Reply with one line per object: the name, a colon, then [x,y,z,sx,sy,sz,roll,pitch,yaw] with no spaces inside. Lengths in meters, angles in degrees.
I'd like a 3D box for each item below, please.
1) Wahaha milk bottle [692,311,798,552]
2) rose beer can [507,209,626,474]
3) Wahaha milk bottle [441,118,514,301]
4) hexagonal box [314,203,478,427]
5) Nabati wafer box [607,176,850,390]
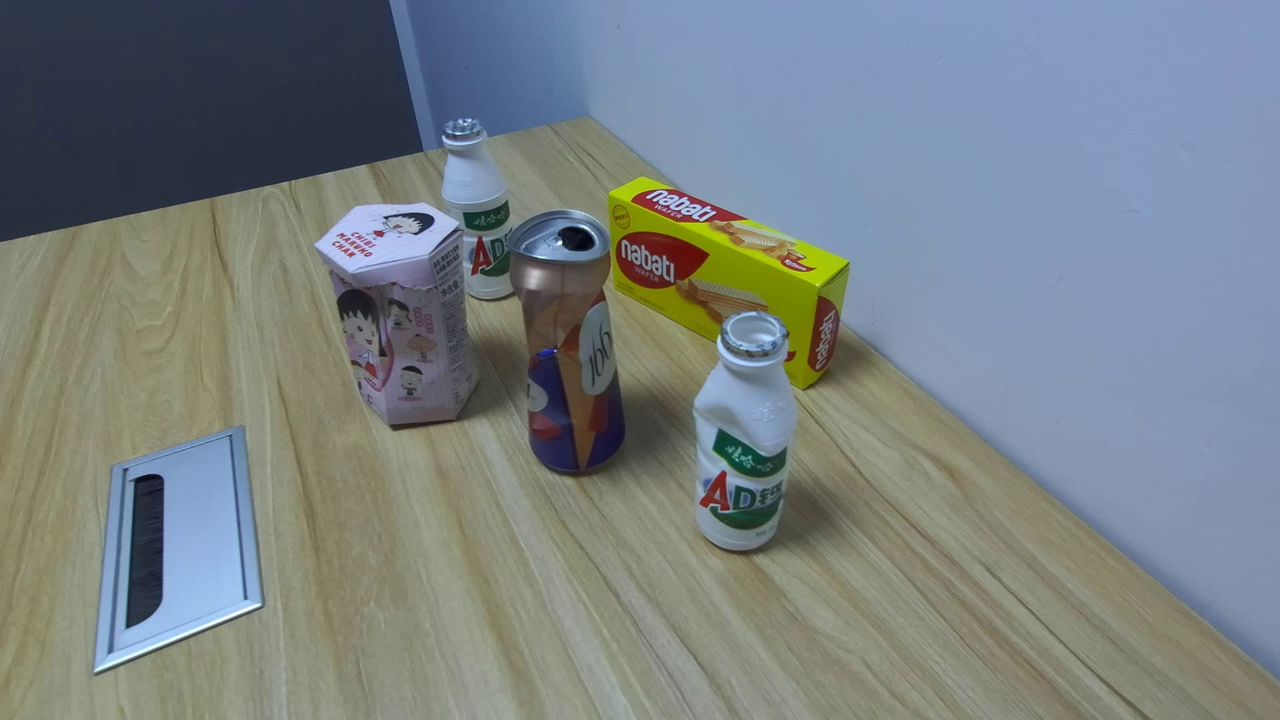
Wahaha milk bottle: [0.056,0.042,0.380,0.056,0.148,0.056,-1,42,2]
rose beer can: [-0.044,-0.006,0.433,0.068,0.162,0.073,-19,44,-20]
Wahaha milk bottle: [-0.135,-0.124,0.585,0.053,0.147,0.053,0,43,0]
hexagonal box: [-0.161,-0.032,0.491,0.090,0.134,0.091,-2,39,-6]
Nabati wafer box: [0.060,-0.064,0.547,0.202,0.093,0.042,31,49,33]
